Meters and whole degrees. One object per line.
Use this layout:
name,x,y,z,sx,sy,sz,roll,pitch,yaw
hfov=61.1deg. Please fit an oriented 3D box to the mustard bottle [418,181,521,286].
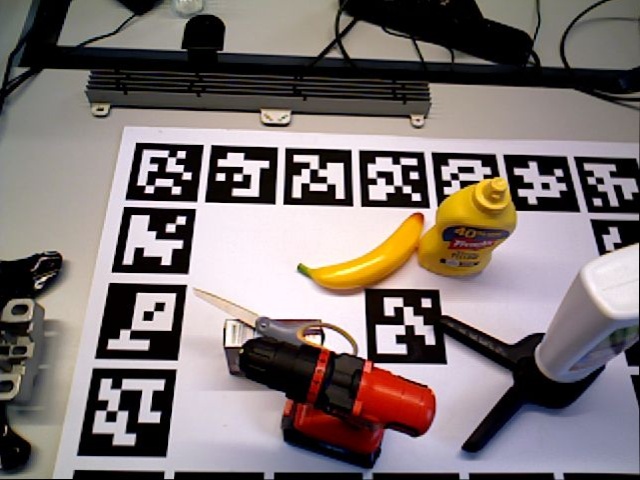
mustard bottle,0.189,-0.010,0.657,0.096,0.195,0.057,16,61,3

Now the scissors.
scissors,-0.060,0.084,0.572,0.202,0.016,0.086,27,69,5

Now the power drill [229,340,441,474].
power drill,0.007,0.162,0.523,0.184,0.191,0.056,13,55,6

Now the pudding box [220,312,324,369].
pudding box,-0.056,0.122,0.627,0.113,0.092,0.038,6,55,-1

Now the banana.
banana,0.077,0.005,0.717,0.194,0.039,0.074,-35,53,-18

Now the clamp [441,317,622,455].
clamp,0.256,0.158,0.641,0.201,0.037,0.164,-3,65,-7

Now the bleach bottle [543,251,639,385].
bleach bottle,0.298,0.095,0.556,0.102,0.255,0.067,-17,60,-5
